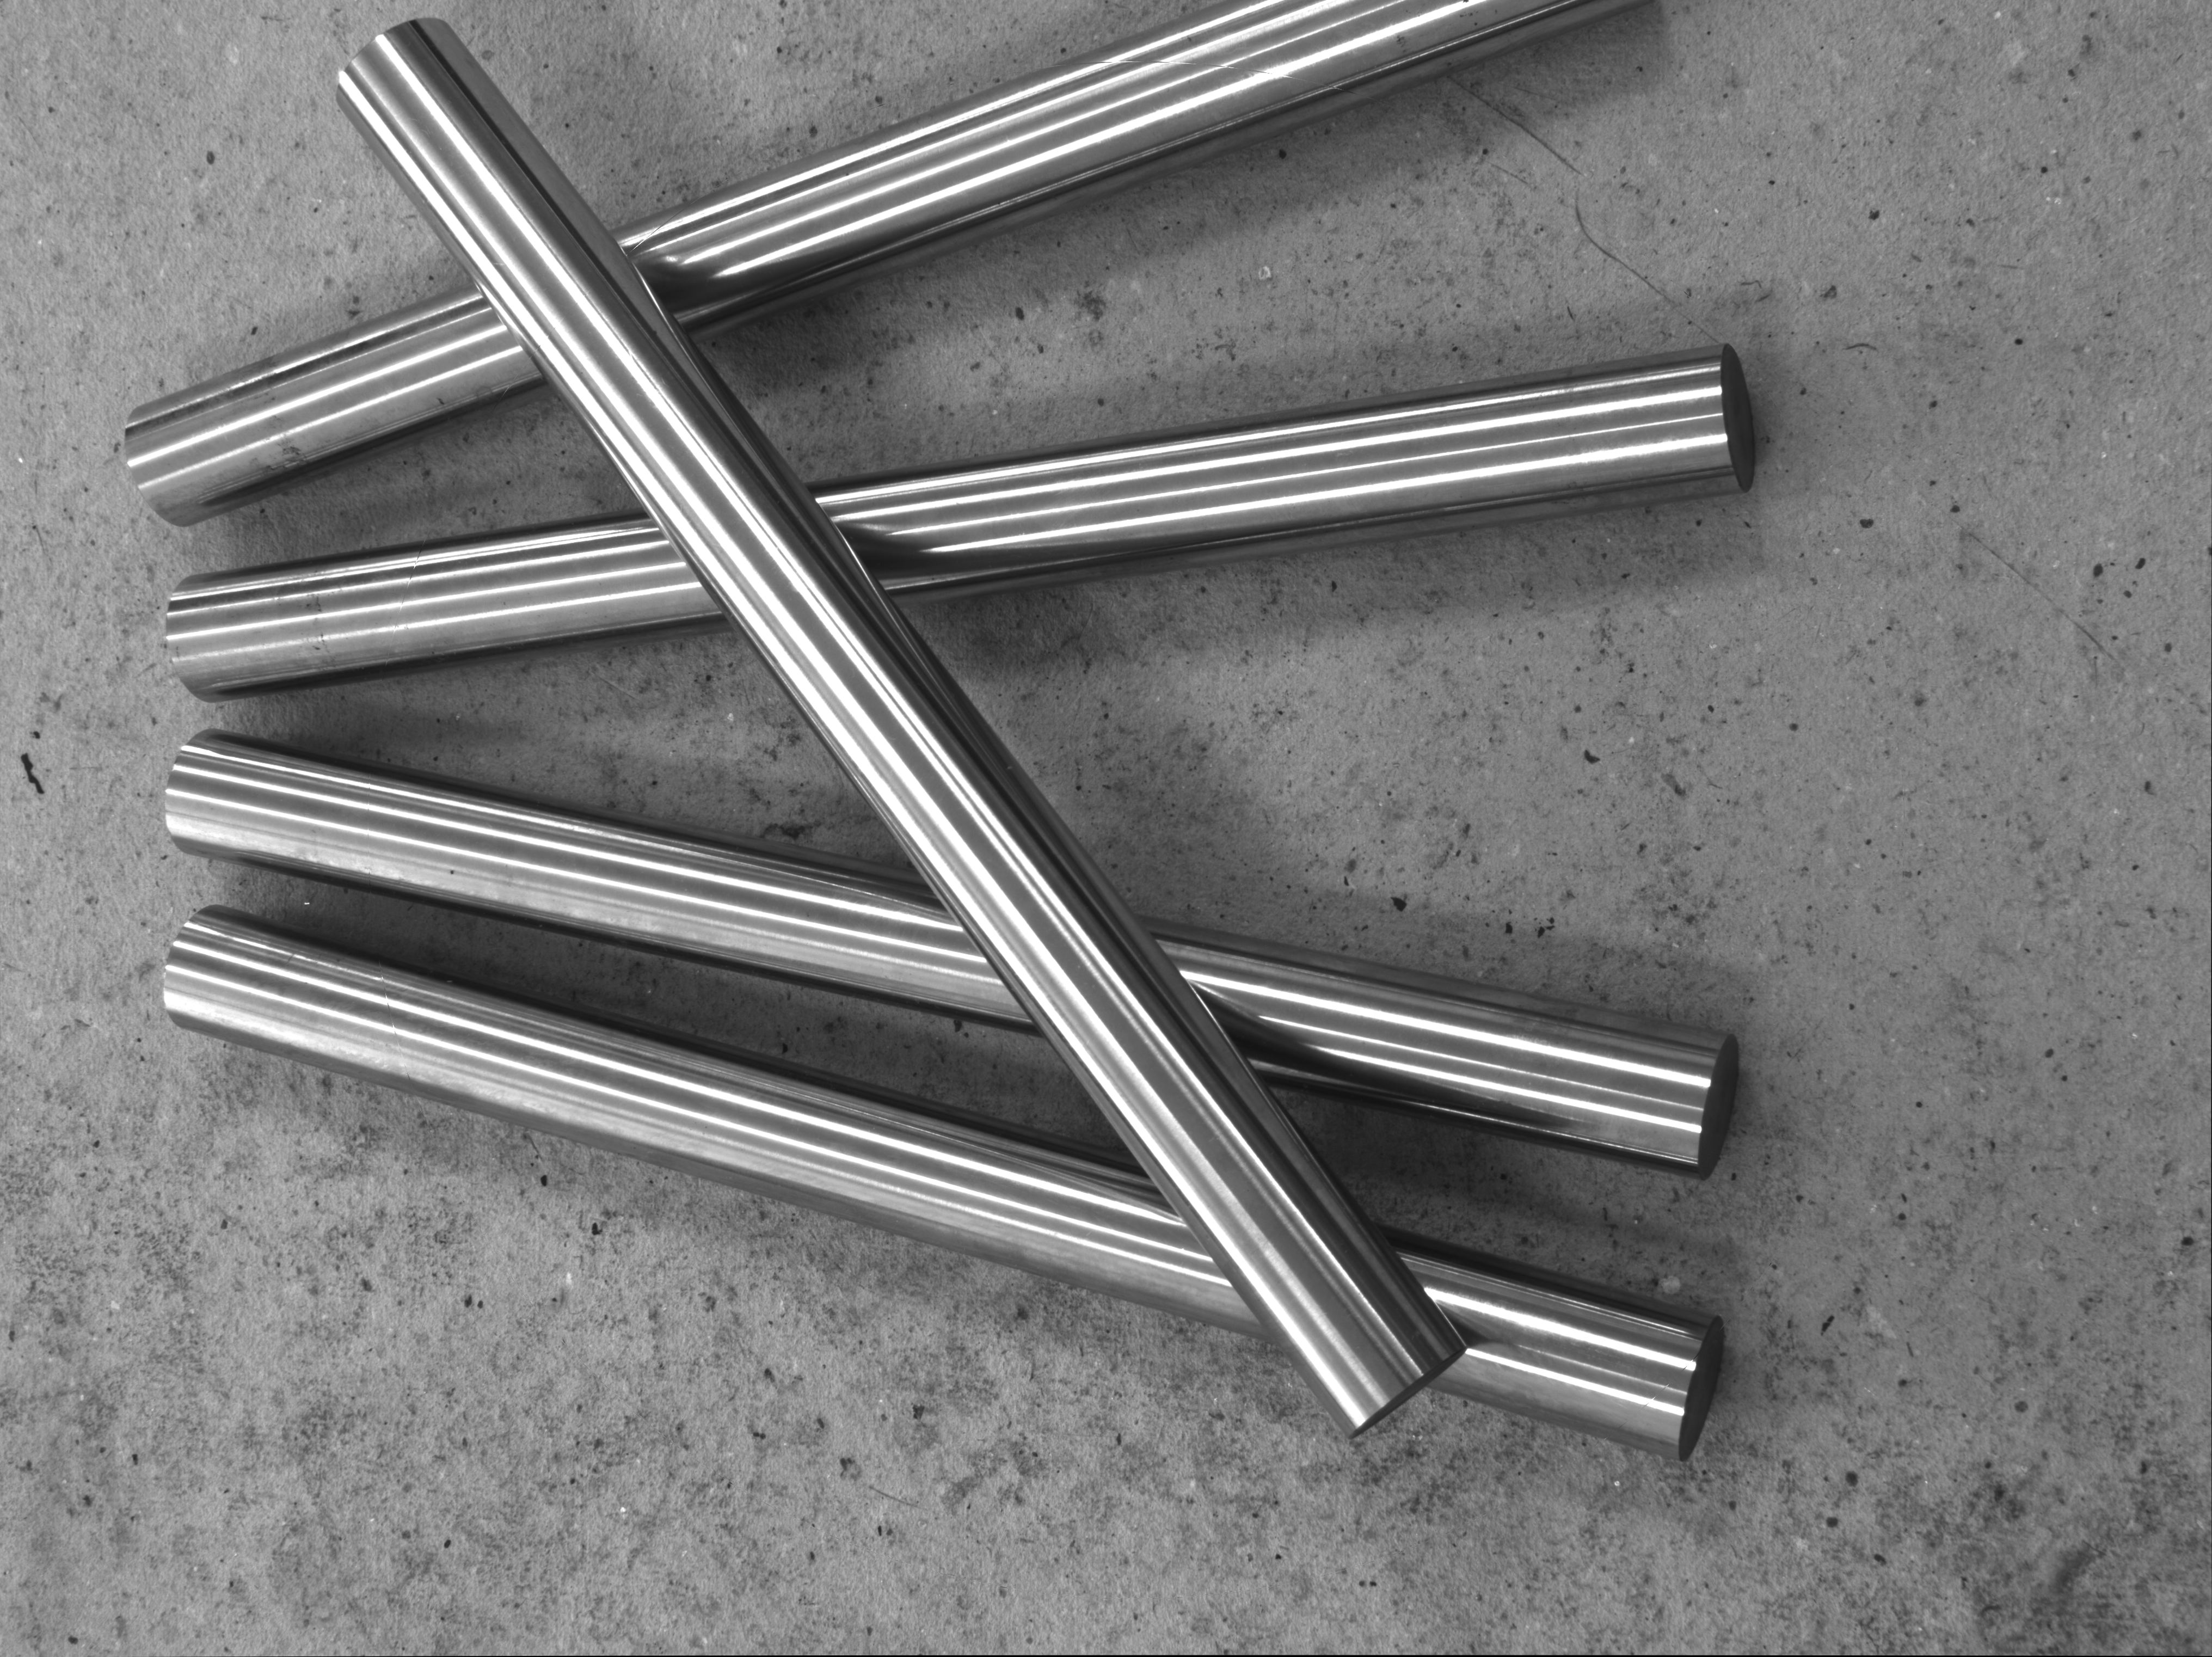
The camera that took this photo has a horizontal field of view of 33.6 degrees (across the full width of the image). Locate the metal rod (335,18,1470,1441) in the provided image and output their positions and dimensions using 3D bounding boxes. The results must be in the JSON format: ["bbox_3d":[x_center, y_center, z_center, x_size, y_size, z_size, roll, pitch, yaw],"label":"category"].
[{"bbox_3d":[-0.040,-0.023,0.634,0.025,0.025,0.300,-41,77,15],"label":"metal rod"}]

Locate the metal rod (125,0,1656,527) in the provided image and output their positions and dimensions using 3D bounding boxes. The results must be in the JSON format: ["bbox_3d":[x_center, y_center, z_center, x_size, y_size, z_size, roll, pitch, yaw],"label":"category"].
[{"bbox_3d":[-0.047,-0.111,0.664,0.299,0.025,0.025,-16,84,19],"label":"metal rod"}]

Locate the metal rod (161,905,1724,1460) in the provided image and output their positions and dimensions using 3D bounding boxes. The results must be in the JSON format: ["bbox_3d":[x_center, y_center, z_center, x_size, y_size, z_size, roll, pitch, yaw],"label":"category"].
[{"bbox_3d":[-0.038,0.060,0.660,0.299,0.025,0.025,14,95,19],"label":"metal rod"}]

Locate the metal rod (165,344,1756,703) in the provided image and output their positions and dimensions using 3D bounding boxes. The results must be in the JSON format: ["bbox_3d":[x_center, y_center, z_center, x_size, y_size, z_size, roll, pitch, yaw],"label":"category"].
[{"bbox_3d":[-0.035,-0.052,0.659,0.299,0.025,0.025,-6,88,20],"label":"metal rod"}]

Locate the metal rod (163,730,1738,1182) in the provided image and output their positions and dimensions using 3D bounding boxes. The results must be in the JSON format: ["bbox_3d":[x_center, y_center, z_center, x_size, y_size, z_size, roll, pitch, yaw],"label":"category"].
[{"bbox_3d":[-0.037,0.020,0.660,0.299,0.025,0.025,11,94,20],"label":"metal rod"}]
